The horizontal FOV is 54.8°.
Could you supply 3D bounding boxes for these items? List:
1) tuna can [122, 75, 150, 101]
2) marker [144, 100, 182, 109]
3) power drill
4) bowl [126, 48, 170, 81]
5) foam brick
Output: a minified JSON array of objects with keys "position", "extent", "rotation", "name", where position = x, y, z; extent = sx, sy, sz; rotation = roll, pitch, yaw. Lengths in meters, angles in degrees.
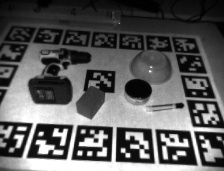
[{"position":[0.075,0.009,0.694],"extent":[0.086,0.034,0.085],"rotation":[4,50,-4],"name":"tuna can"},{"position":[0.158,0.058,0.669],"extent":[0.121,0.020,0.019],"rotation":[-4,52,-8],"name":"marker"},{"position":[-0.181,-0.050,0.712],"extent":[0.185,0.057,0.186],"rotation":[5,48,-5],"name":"power drill"},{"position":[0.131,-0.087,0.778],"extent":[0.162,0.055,0.161],"rotation":[1,43,0],"name":"bowl"},{"position":[-0.071,0.046,0.649],"extent":[0.051,0.053,0.078],"rotation":[23,54,13],"name":"foam brick"}]
